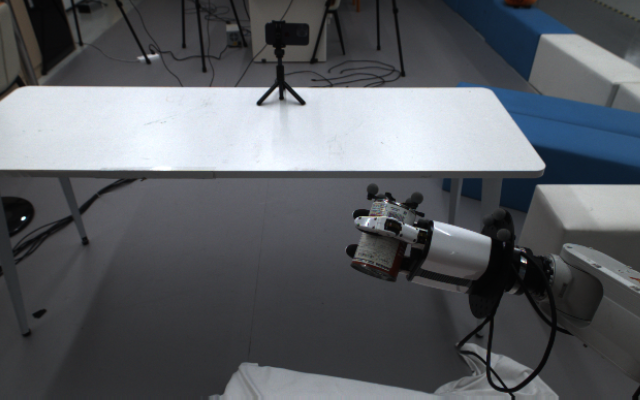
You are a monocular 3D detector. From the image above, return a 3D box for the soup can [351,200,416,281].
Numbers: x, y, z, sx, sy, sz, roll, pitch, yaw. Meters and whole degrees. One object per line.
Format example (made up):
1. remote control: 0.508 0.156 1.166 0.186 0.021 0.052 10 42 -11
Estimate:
1. soup can: 0.093 0.058 0.693 0.067 0.067 0.101 15 75 18
